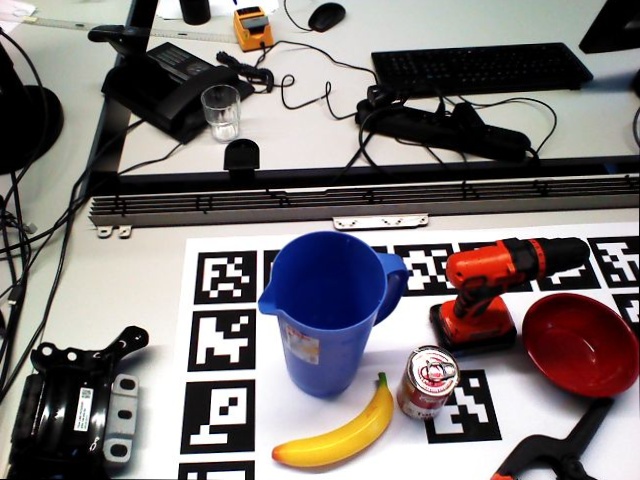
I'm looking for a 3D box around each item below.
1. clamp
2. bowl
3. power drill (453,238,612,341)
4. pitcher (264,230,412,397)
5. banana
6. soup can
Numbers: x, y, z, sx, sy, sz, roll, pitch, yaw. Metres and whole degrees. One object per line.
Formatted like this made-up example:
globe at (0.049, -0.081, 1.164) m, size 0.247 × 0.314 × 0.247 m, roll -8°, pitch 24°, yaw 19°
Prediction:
clamp at (0.326, 0.288, 0.634) m, size 0.203 × 0.037 × 0.164 m, roll -5°, pitch 58°, yaw -3°
bowl at (0.377, 0.156, 0.724) m, size 0.162 × 0.055 × 0.160 m, roll -1°, pitch 56°, yaw 1°
power drill at (0.265, 0.065, 0.688) m, size 0.185 × 0.188 × 0.057 m, roll -6°, pitch 55°, yaw -5°
pitcher at (0.028, 0.099, 0.656) m, size 0.188 × 0.243 × 0.133 m, roll -23°, pitch 54°, yaw -15°
banana at (0.031, 0.251, 0.676) m, size 0.197 × 0.039 × 0.074 m, roll -23°, pitch 49°, yaw -17°
soup can at (0.152, 0.185, 0.680) m, size 0.068 × 0.102 × 0.067 m, roll -1°, pitch 46°, yaw 1°
